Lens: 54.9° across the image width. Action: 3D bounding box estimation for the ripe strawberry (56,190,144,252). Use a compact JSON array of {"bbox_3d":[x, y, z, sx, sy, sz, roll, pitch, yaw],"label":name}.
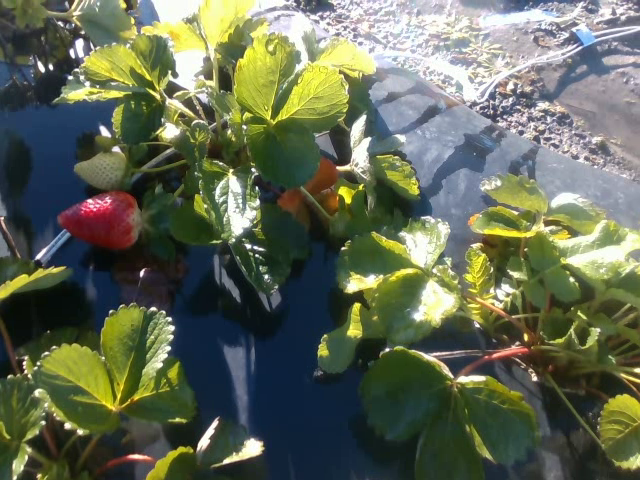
[{"bbox_3d":[-0.179,-0.017,0.504,0.080,0.063,0.040,0,-5,-26],"label":"ripe strawberry"}]
